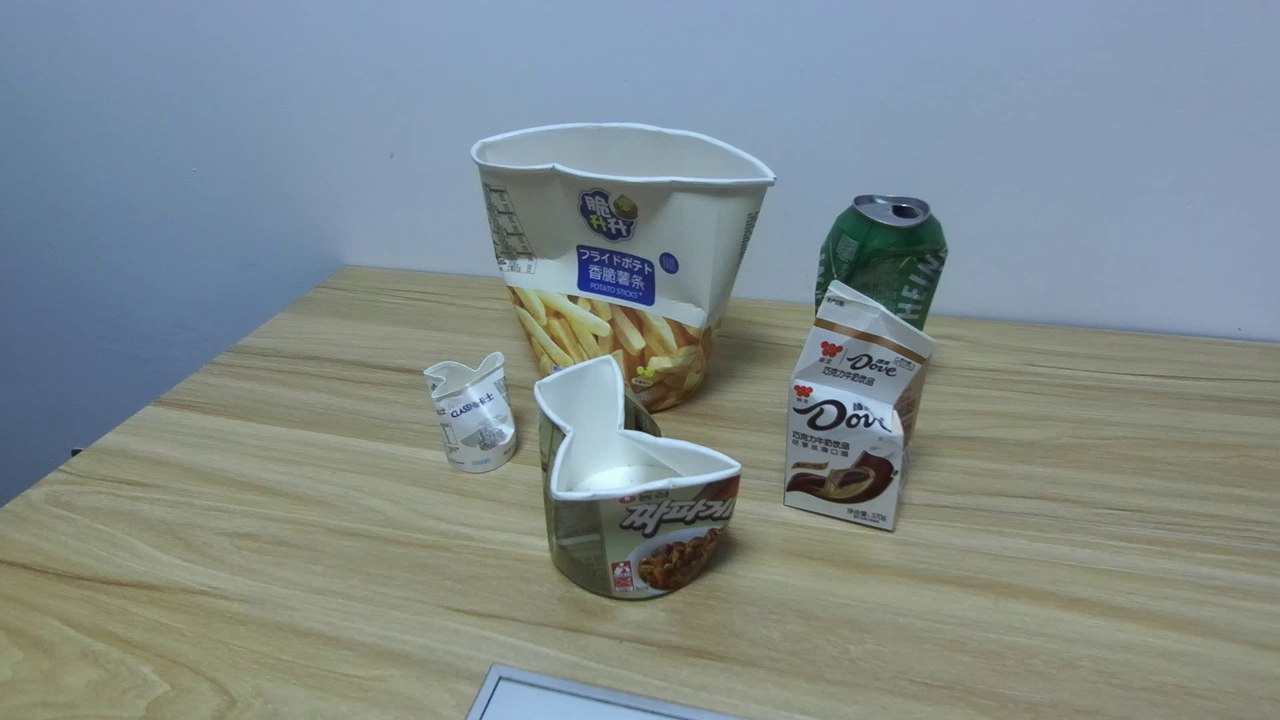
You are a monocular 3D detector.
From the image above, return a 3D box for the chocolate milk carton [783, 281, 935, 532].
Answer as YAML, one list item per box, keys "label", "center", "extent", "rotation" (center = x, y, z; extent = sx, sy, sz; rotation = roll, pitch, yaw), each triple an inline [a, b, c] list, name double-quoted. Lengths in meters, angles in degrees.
- label: "chocolate milk carton"
  center: [0.138, 0.022, 0.444]
  extent: [0.076, 0.156, 0.074]
  rotation: [12, 38, 20]

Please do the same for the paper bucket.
- label: "paper bucket"
  center: [-0.015, -0.074, 0.567]
  extent: [0.218, 0.199, 0.147]
  rotation: [-4, 33, -1]

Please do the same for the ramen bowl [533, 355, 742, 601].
- label: "ramen bowl"
  center: [-0.007, 0.069, 0.440]
  extent: [0.112, 0.093, 0.128]
  rotation: [-10, 34, -9]

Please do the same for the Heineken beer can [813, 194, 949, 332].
- label: "Heineken beer can"
  center: [0.172, -0.040, 0.534]
  extent: [0.077, 0.164, 0.066]
  rotation: [26, 41, 33]

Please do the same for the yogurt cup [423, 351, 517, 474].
- label: "yogurt cup"
  center: [-0.123, 0.038, 0.524]
  extent: [0.055, 0.072, 0.055]
  rotation: [-12, 32, -11]
